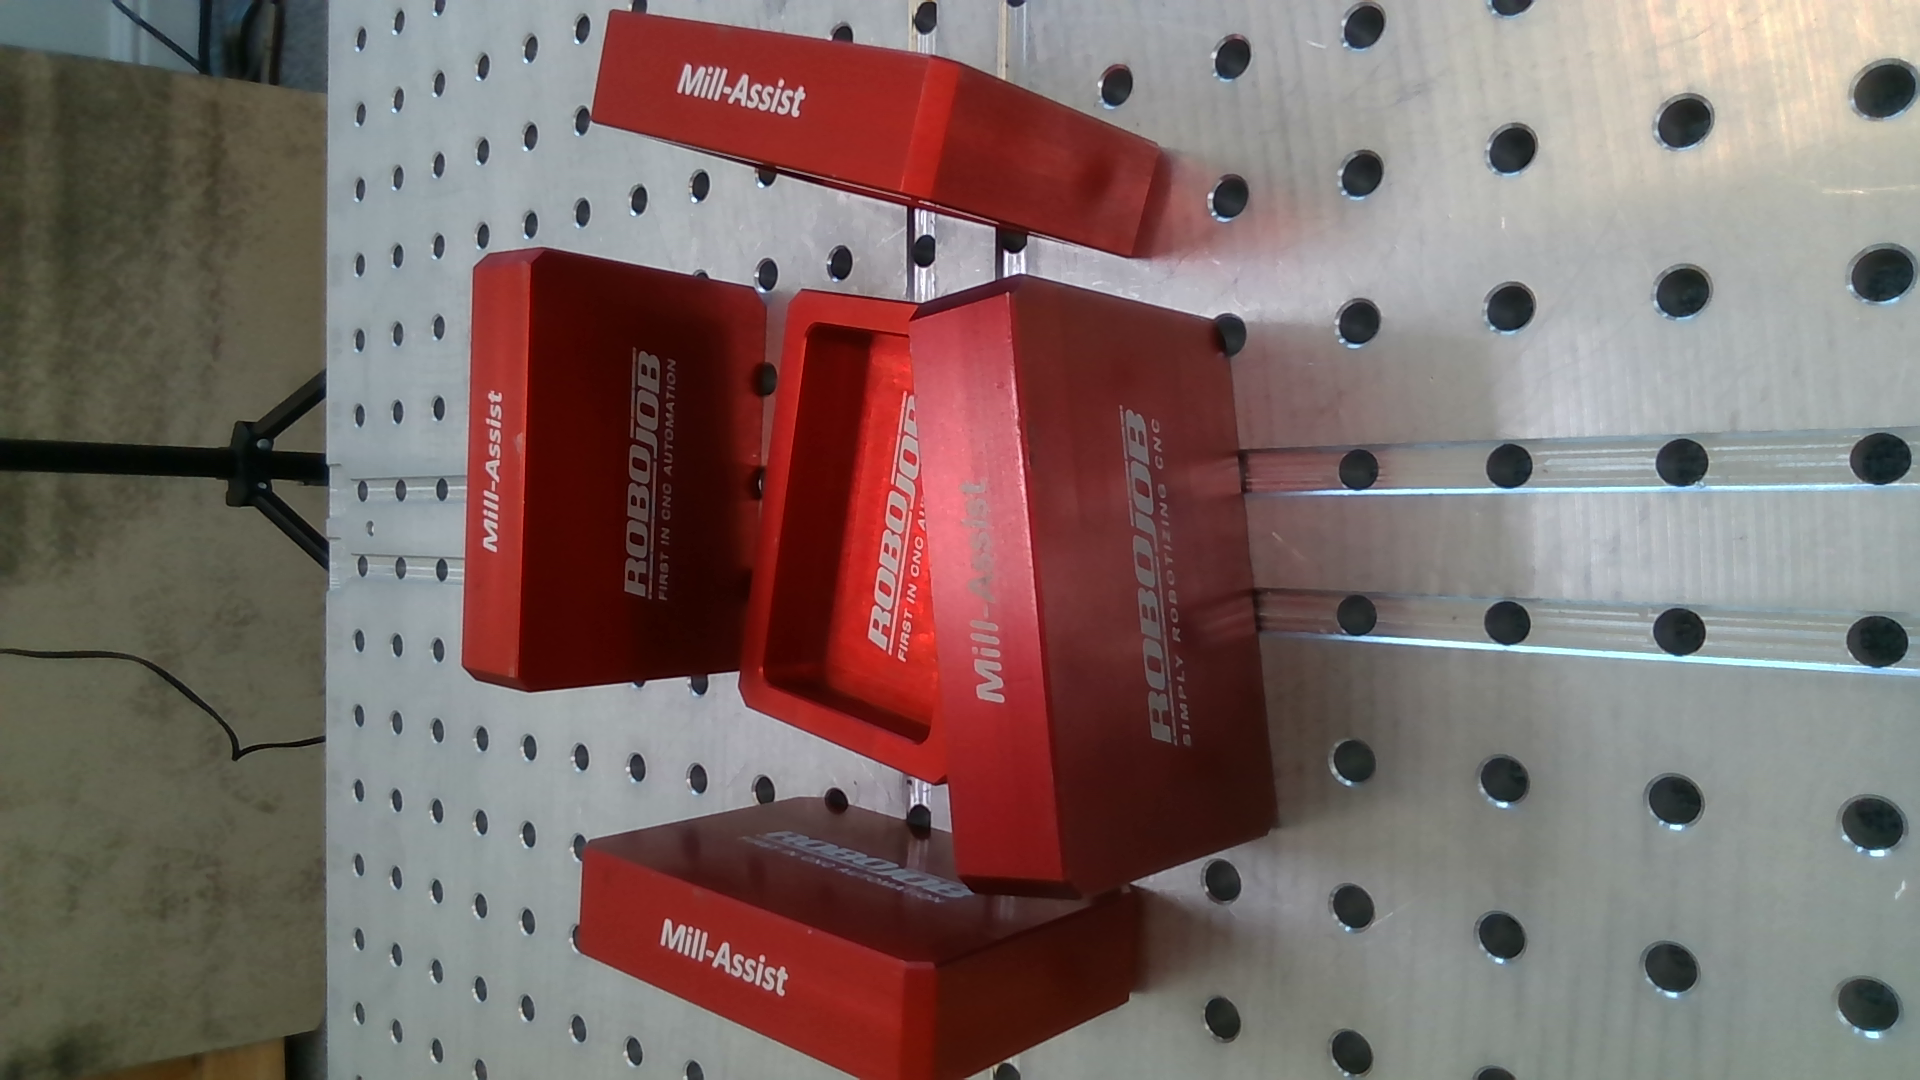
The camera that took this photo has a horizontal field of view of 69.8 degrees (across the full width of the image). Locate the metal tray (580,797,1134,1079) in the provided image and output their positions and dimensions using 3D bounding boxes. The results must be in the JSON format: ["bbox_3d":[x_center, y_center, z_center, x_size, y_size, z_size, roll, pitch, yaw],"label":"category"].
[{"bbox_3d":[-0.030,0.104,0.377,0.130,0.090,0.030,6,94,40],"label":"metal tray"}]

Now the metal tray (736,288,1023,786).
[{"bbox_3d":[-0.019,-0.004,0.405,0.090,0.030,0.130,15,100,39],"label":"metal tray"}]

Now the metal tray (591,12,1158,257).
[{"bbox_3d":[-0.025,-0.109,0.371,0.130,0.090,0.030,23,104,38],"label":"metal tray"}]

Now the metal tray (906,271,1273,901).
[{"bbox_3d":[0.033,0.010,0.322,0.030,0.090,0.130,-8,85,40],"label":"metal tray"}]

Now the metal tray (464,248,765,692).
[{"bbox_3d":[-0.109,-0.021,0.443,0.030,0.090,0.130,5,93,40],"label":"metal tray"}]
